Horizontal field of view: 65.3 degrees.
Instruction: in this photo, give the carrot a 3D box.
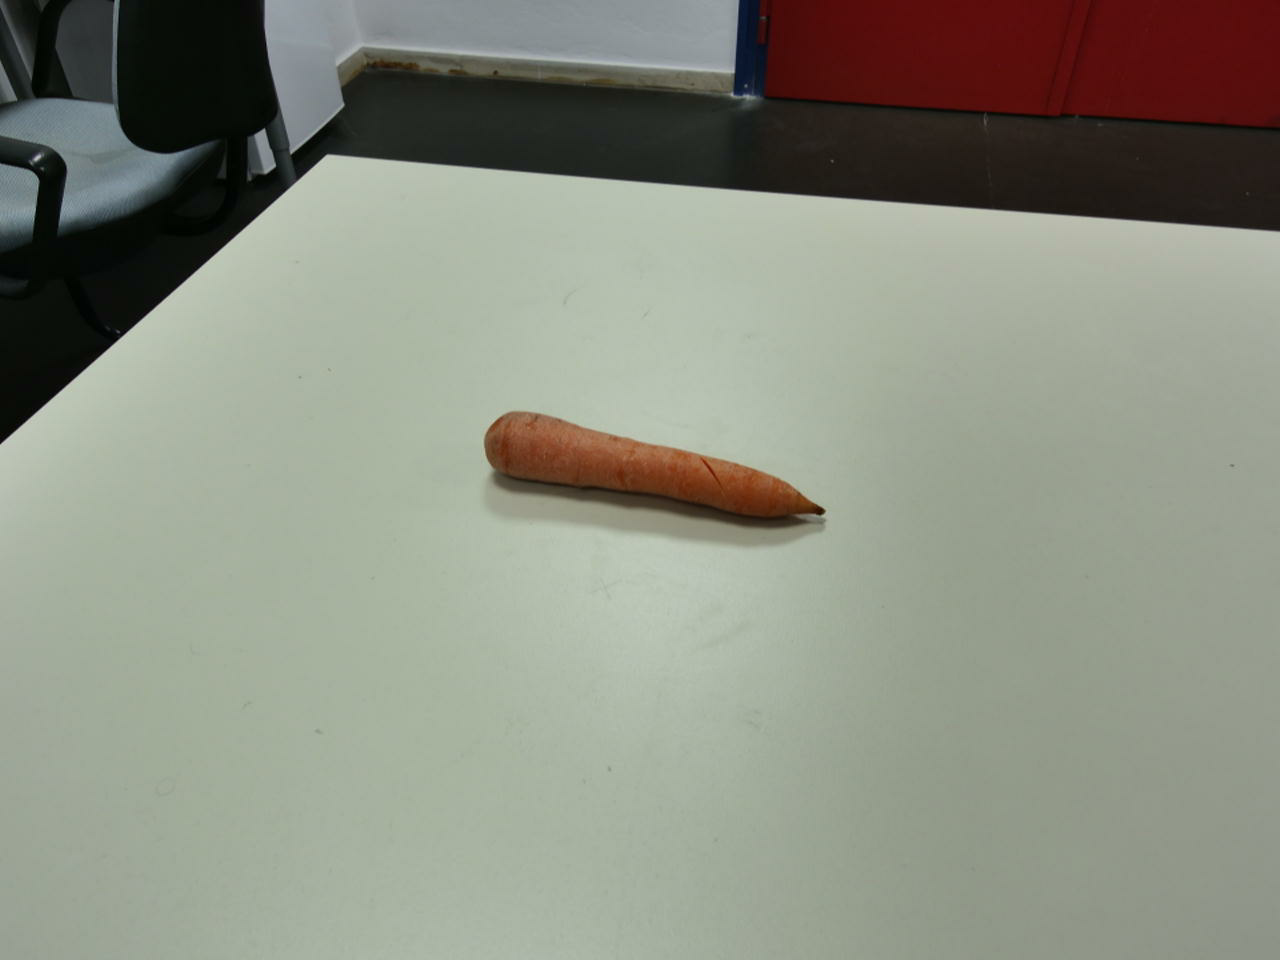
[{"bbox_3d":[0.007,-0.009,0.559,0.196,0.041,0.039,9,39,10],"label":"carrot"}]
